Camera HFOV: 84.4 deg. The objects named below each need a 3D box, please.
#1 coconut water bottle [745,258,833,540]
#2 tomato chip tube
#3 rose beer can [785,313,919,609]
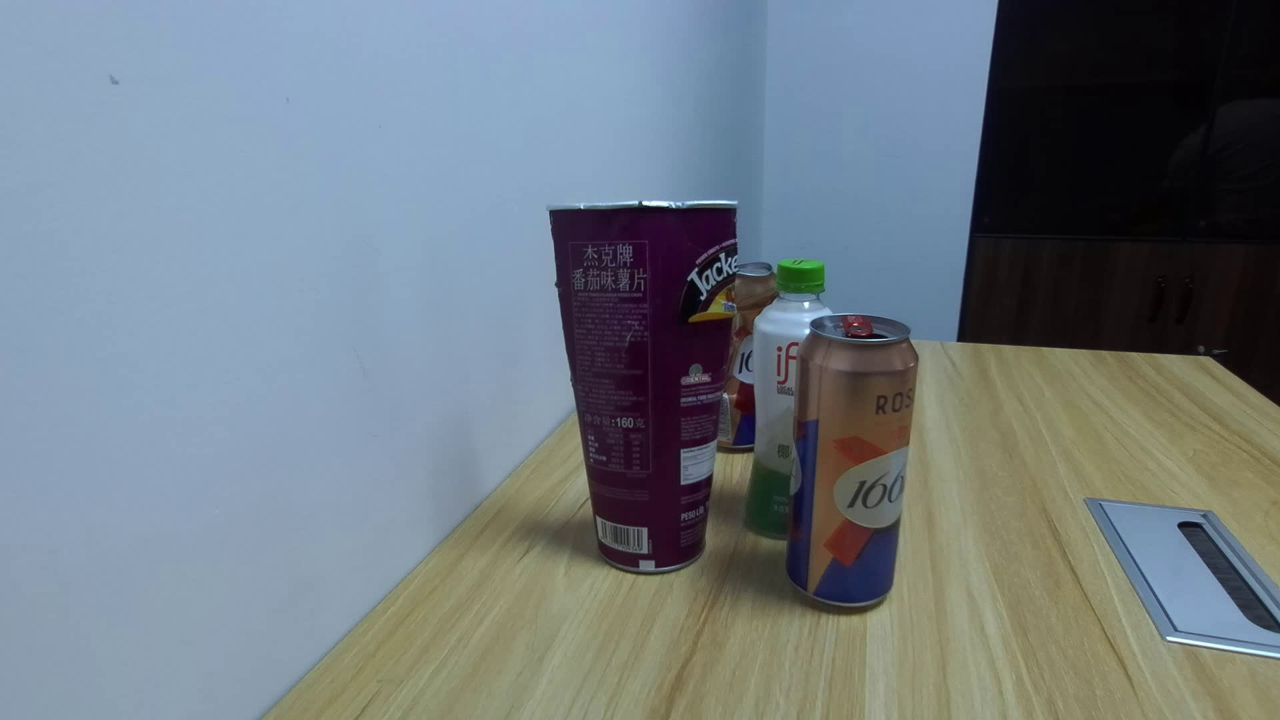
[{"bbox_3d":[0.108,0.027,0.495,0.063,0.189,0.063,-2,20,1],"label":"coconut water bottle"},{"bbox_3d":[0.008,0.018,0.453,0.089,0.236,0.078,13,23,41],"label":"tomato chip tube"},{"bbox_3d":[0.124,0.061,0.419,0.068,0.169,0.068,0,19,0],"label":"rose beer can"}]
